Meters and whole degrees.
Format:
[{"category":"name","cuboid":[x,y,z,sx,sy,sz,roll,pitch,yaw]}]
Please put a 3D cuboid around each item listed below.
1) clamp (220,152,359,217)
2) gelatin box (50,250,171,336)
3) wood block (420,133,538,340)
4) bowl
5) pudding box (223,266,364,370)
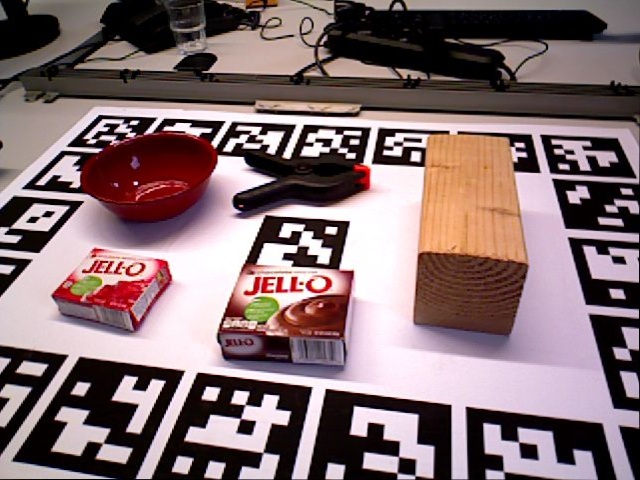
[{"category":"clamp","cuboid":[-0.034,-0.073,0.665,0.164,0.037,0.120,-2,40,0]},{"category":"gelatin box","cuboid":[-0.202,0.049,0.528,0.089,0.031,0.071,9,44,15]},{"category":"wood block","cuboid":[0.152,-0.015,0.527,0.090,0.093,0.202,7,42,10]},{"category":"bowl","cuboid":[-0.200,-0.066,0.654,0.161,0.056,0.159,-2,44,1]},{"category":"pudding box","cuboid":[-0.021,0.068,0.487,0.114,0.039,0.088,2,45,10]}]
